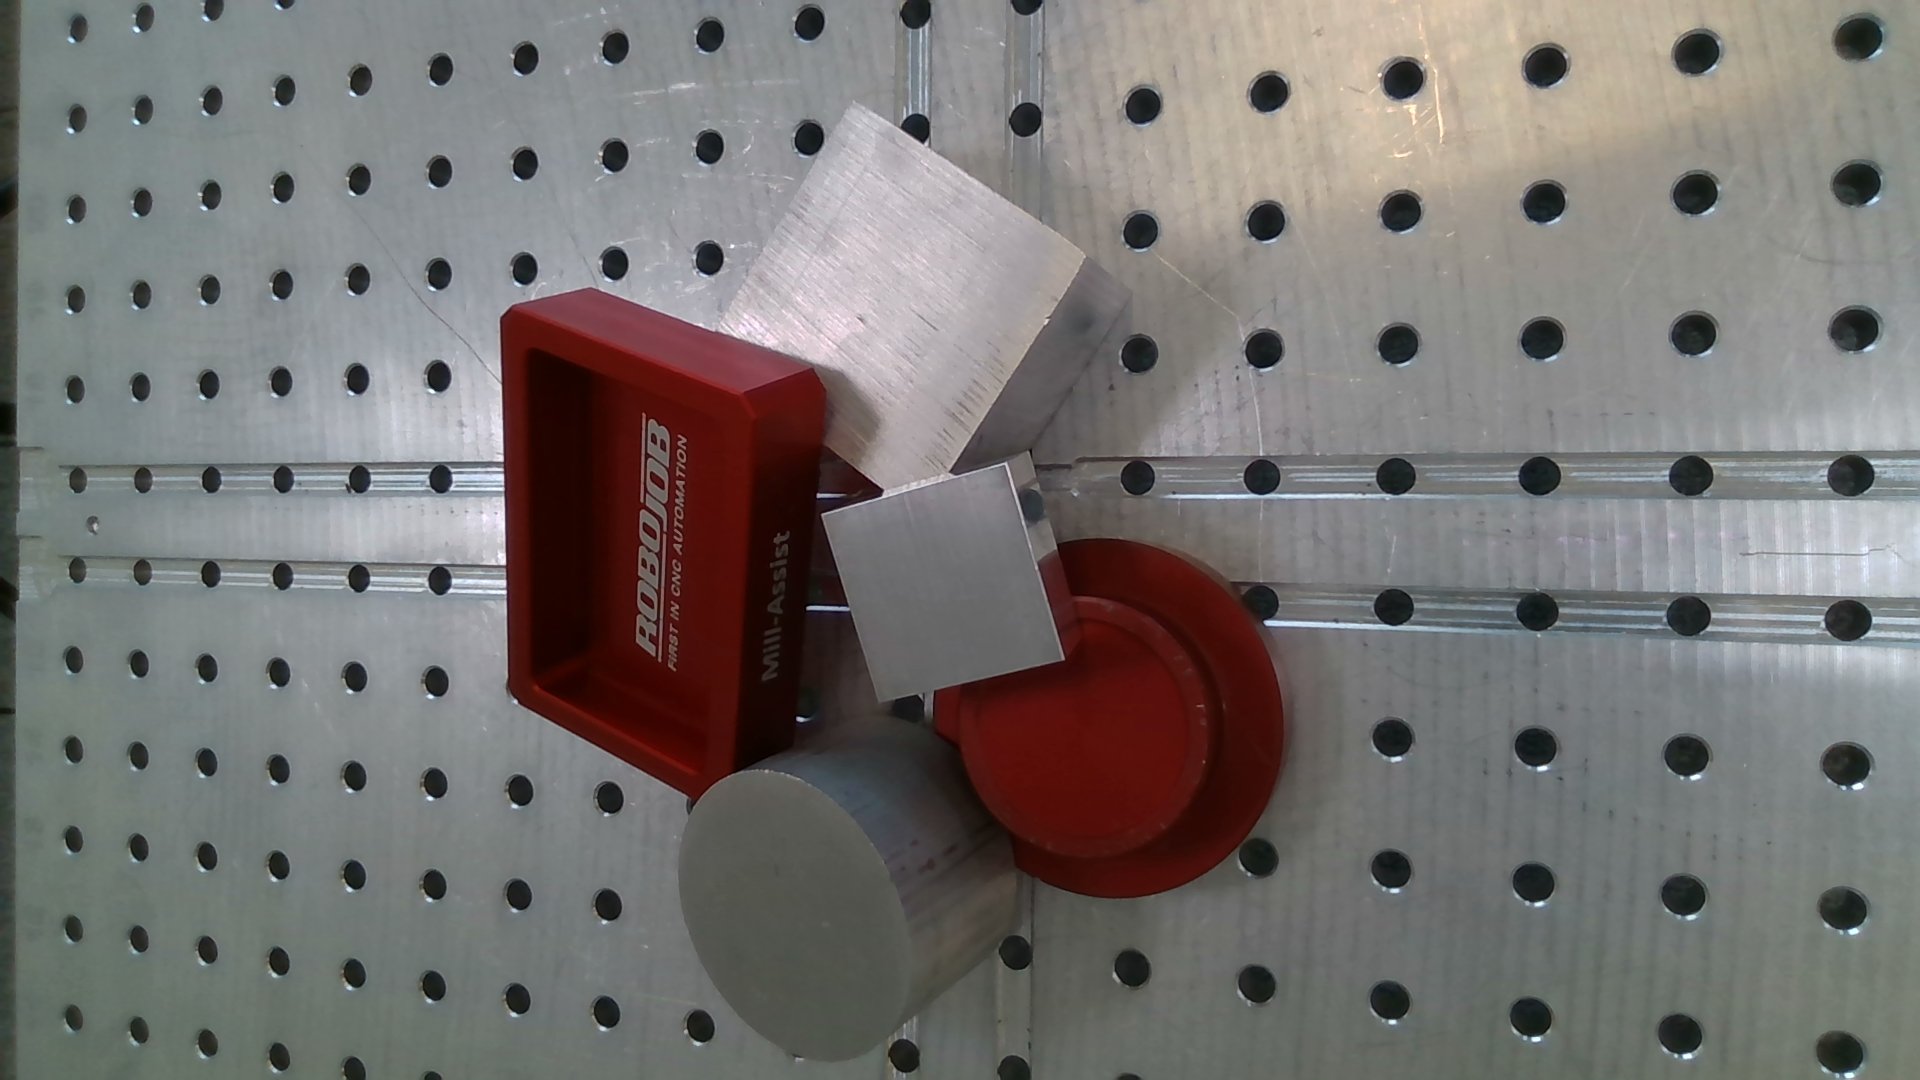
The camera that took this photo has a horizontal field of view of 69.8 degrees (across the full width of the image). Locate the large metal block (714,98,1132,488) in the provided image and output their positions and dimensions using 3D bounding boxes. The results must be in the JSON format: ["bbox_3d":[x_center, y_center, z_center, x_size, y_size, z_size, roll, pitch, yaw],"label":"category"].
[{"bbox_3d":[-0.012,-0.062,0.387,0.080,0.050,0.080,37,102,16],"label":"large metal block"}]

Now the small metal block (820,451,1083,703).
[{"bbox_3d":[-0.001,0.009,0.348,0.050,0.025,0.050,-14,96,17],"label":"small metal block"}]

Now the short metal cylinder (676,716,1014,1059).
[{"bbox_3d":[-0.032,0.095,0.384,0.080,0.050,0.080,9,106,32],"label":"short metal cylinder"}]

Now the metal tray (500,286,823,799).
[{"bbox_3d":[-0.089,0.003,0.396,0.090,0.030,0.130,22,120,25],"label":"metal tray"}]

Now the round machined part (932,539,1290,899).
[{"bbox_3d":[0.038,0.049,0.374,0.098,0.042,0.098,0,90,20],"label":"round machined part"}]
